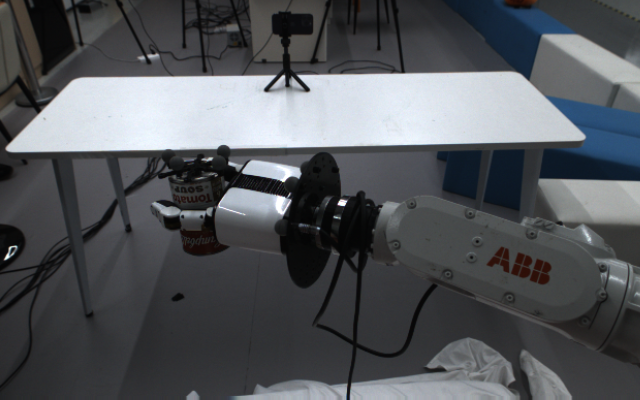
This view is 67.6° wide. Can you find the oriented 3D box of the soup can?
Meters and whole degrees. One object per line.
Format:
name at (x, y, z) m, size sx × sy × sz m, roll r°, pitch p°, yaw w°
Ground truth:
soup can at (-0.147, 0.011, 0.612) m, size 0.067 × 0.101 × 0.067 m, roll -4°, pitch 26°, yaw 2°
